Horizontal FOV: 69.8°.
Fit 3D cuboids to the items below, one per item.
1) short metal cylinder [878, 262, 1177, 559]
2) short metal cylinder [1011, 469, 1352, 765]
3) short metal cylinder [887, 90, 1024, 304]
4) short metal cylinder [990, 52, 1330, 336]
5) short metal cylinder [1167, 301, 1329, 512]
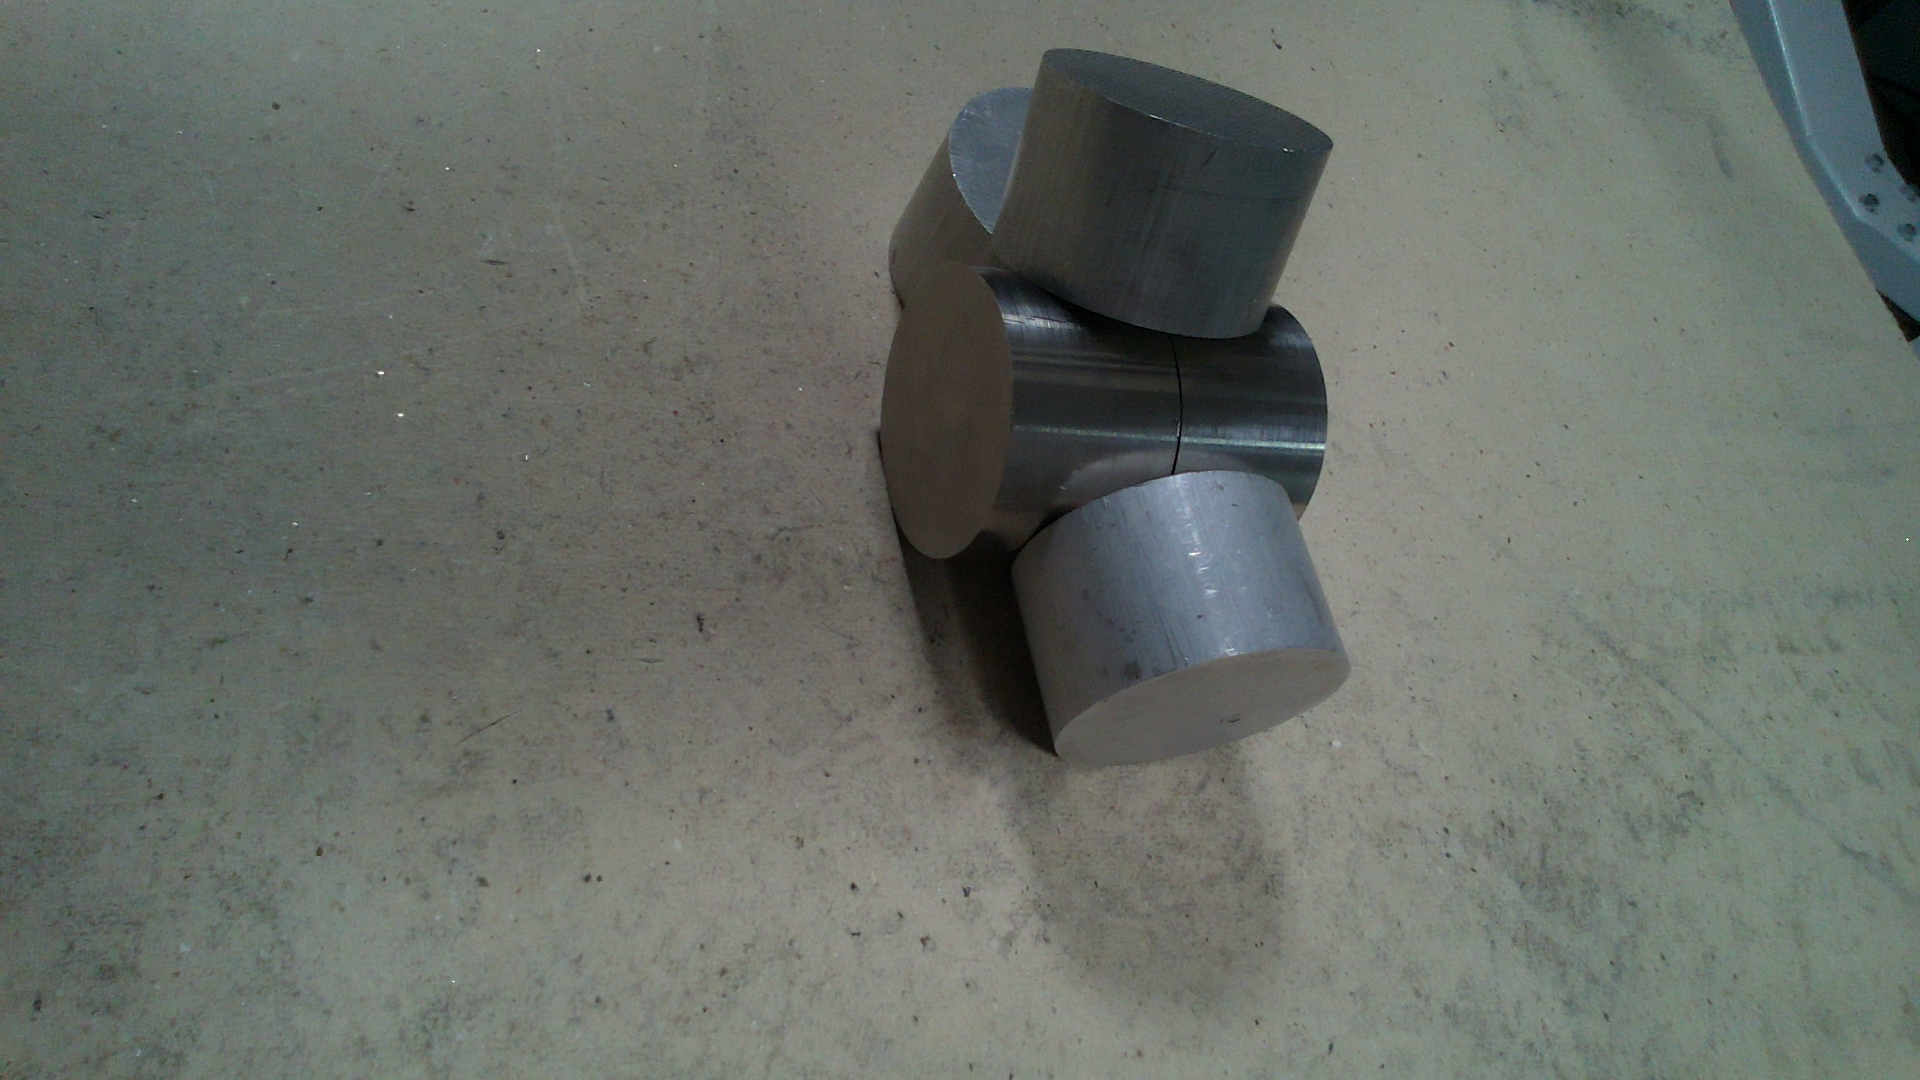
[{"bbox_3d":[0.016,-0.034,0.385,0.050,0.080,0.080,1,61,-28],"label":"short metal cylinder"},{"bbox_3d":[0.058,0.023,0.372,0.080,0.080,0.050,0,61,-28],"label":"short metal cylinder"},{"bbox_3d":[0.023,-0.098,0.447,0.080,0.050,0.080,14,56,-21],"label":"short metal cylinder"},{"bbox_3d":[0.053,-0.096,0.376,0.080,0.050,0.080,13,29,-7],"label":"short metal cylinder"},{"bbox_3d":[0.063,-0.035,0.409,0.050,0.080,0.080,0,62,-27],"label":"short metal cylinder"}]
